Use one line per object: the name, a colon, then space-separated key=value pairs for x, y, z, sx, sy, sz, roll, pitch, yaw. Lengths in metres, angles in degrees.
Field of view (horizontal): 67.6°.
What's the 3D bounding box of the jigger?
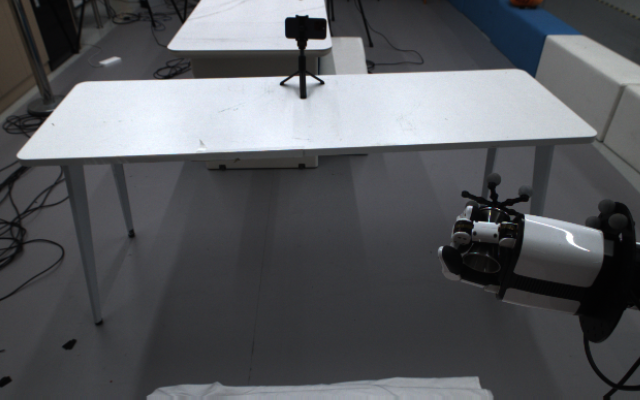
jigger: x=0.203 y=0.044 z=0.580 sx=0.043 sy=0.043 sz=0.071 roll=15 pitch=58 yaw=18
